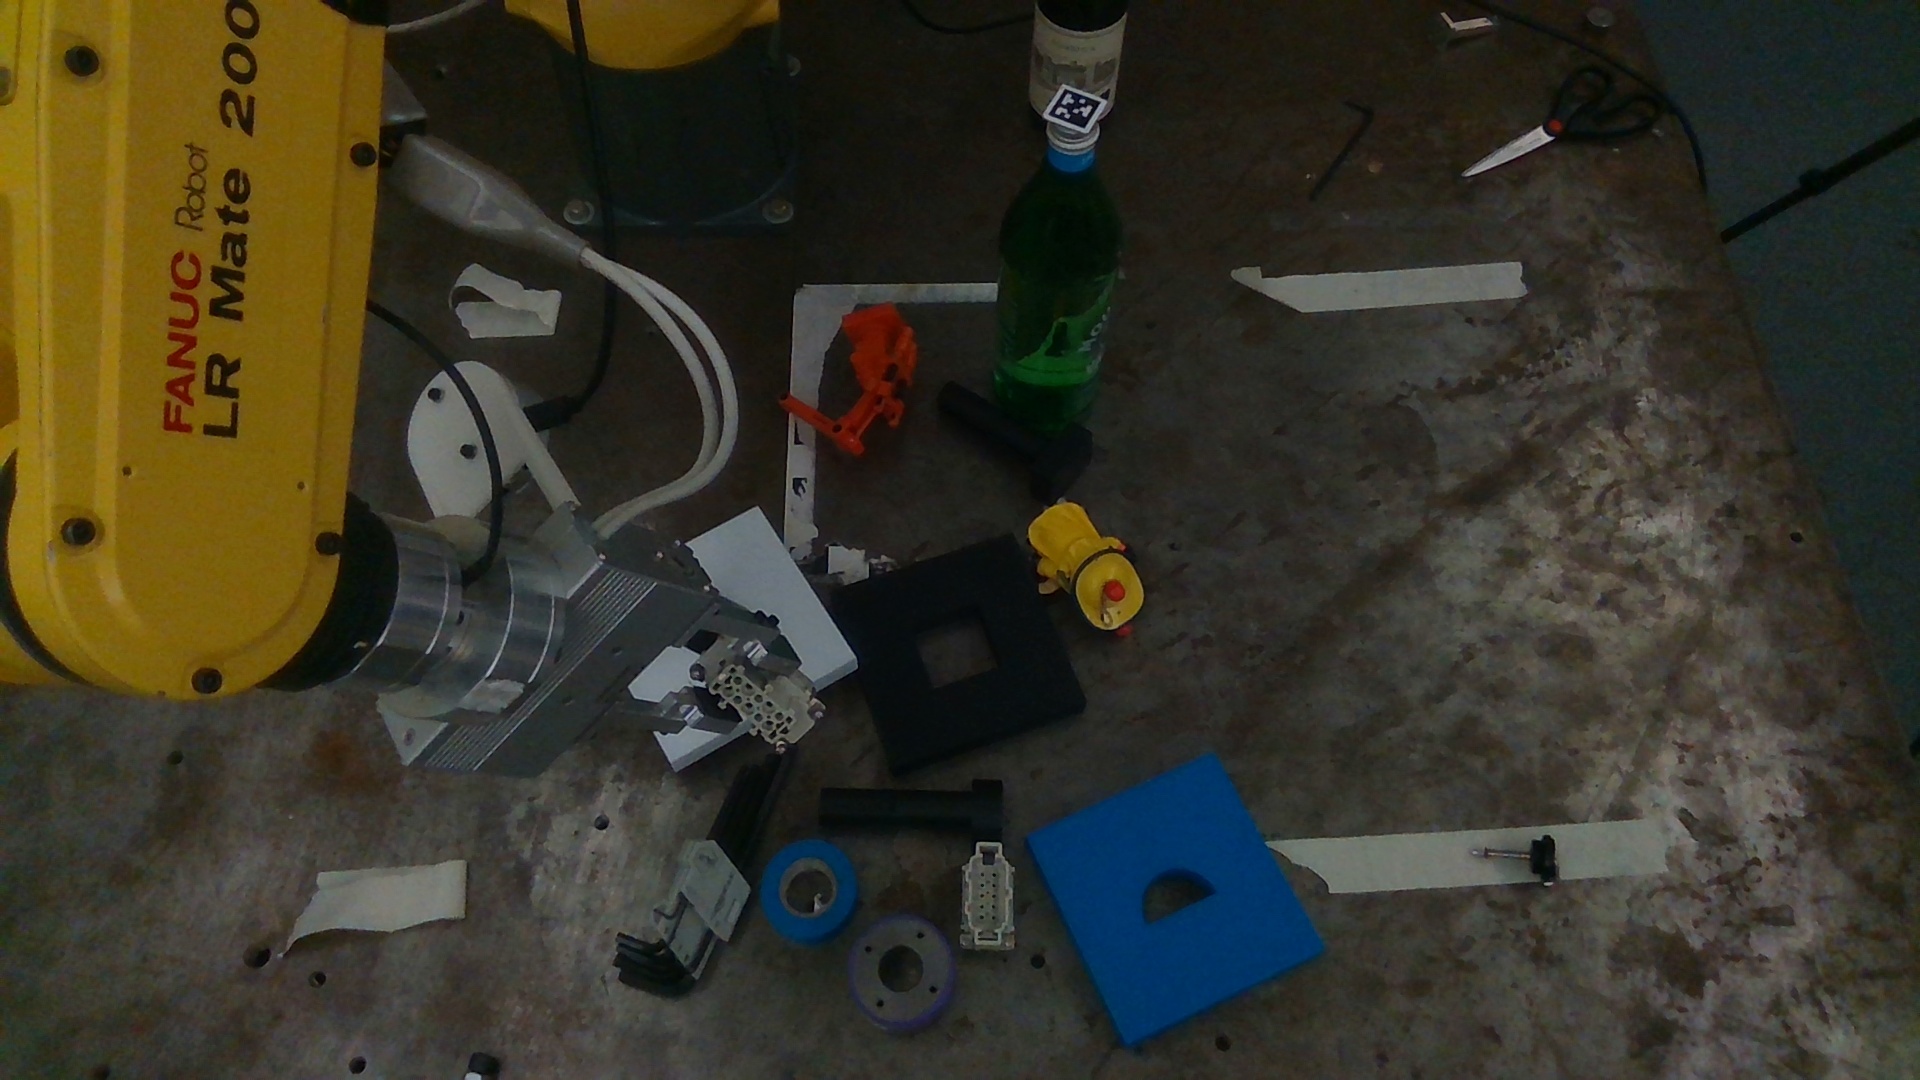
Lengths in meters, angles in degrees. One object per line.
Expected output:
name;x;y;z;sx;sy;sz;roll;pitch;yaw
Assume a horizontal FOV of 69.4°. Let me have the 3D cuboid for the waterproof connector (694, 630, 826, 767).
waterproof connector;-0.101;0.079;0.705;0.037;0.038;0.069;-39;95;8
